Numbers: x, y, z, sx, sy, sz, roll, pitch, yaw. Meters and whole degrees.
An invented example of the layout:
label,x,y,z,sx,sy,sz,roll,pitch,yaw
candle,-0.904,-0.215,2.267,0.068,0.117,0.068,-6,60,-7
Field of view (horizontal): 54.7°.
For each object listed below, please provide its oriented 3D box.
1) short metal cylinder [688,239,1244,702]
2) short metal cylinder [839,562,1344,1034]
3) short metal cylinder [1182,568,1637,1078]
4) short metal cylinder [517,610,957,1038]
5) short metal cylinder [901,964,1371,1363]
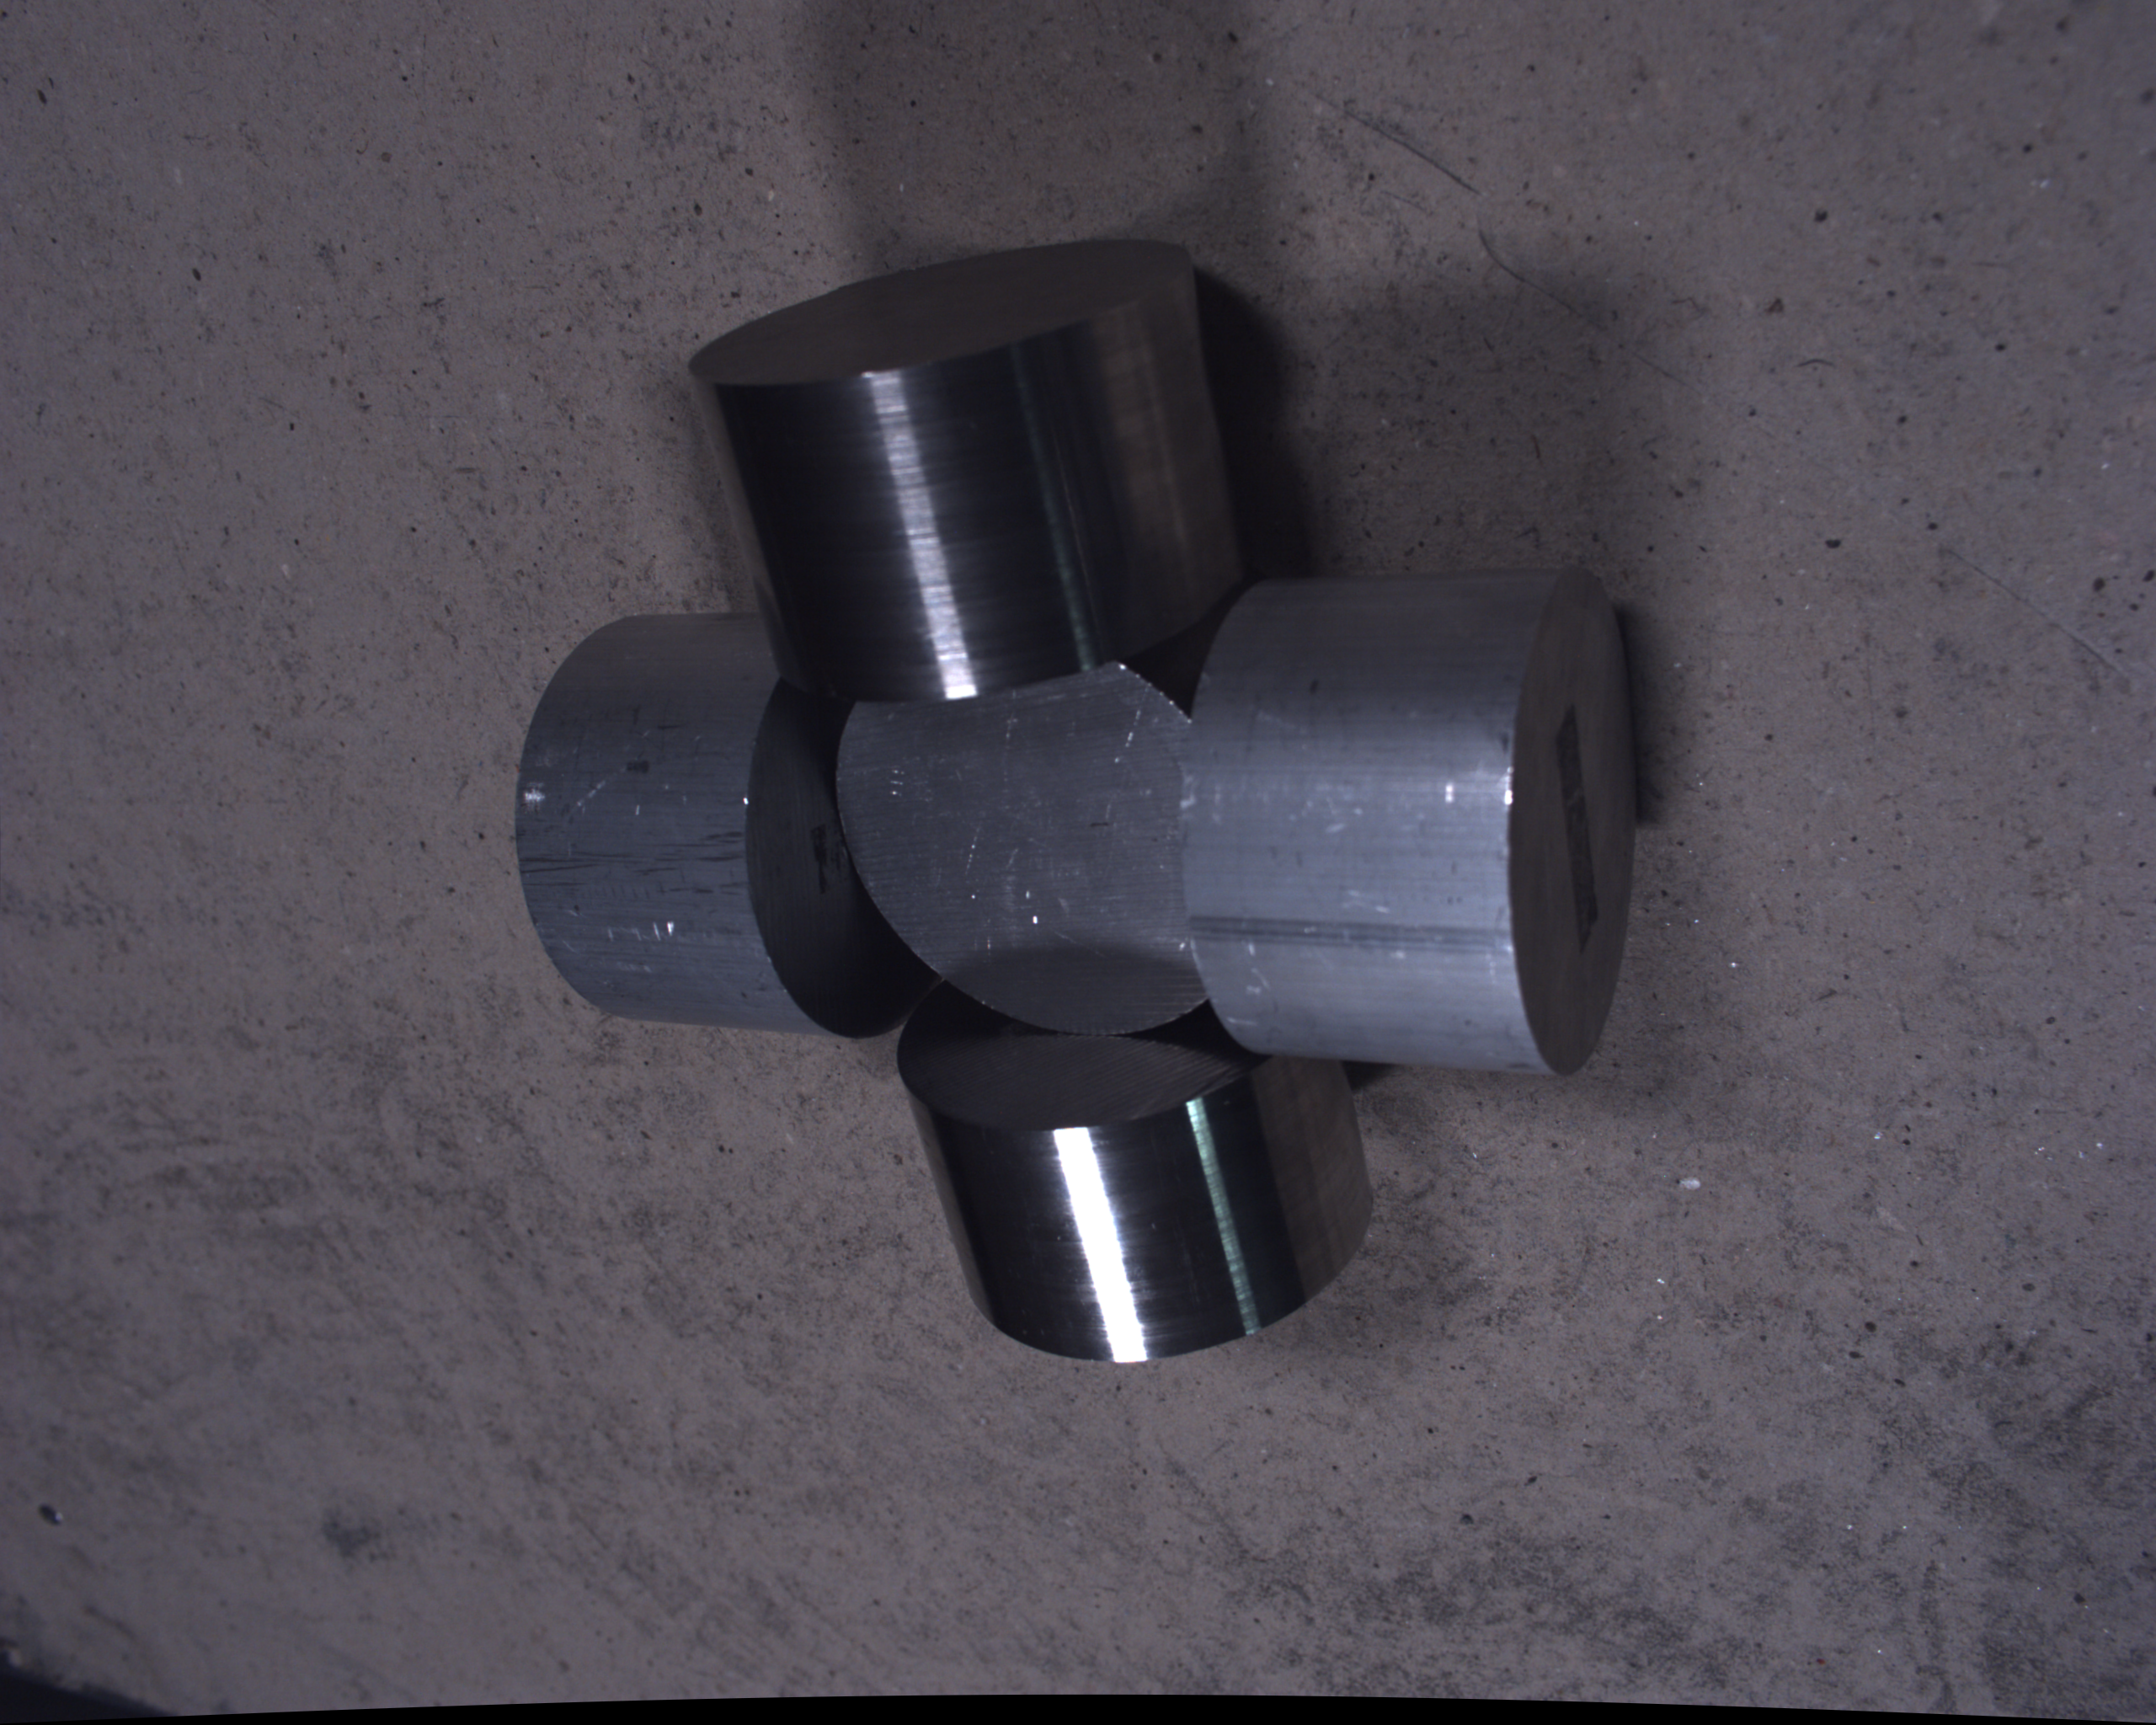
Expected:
label,x,y,z,sx,sy,sz,roll,pitch,yaw
short metal cylinder,-0.017,-0.066,0.339,0.080,0.080,0.050,2,120,27
short metal cylinder,0.004,-0.016,0.379,0.080,0.050,0.079,13,124,20
short metal cylinder,0.056,-0.007,0.338,0.050,0.080,0.079,2,119,27
short metal cylinder,-0.060,-0.008,0.398,0.050,0.080,0.079,2,119,27
short metal cylinder,0.012,0.049,0.395,0.080,0.080,0.050,1,118,27
